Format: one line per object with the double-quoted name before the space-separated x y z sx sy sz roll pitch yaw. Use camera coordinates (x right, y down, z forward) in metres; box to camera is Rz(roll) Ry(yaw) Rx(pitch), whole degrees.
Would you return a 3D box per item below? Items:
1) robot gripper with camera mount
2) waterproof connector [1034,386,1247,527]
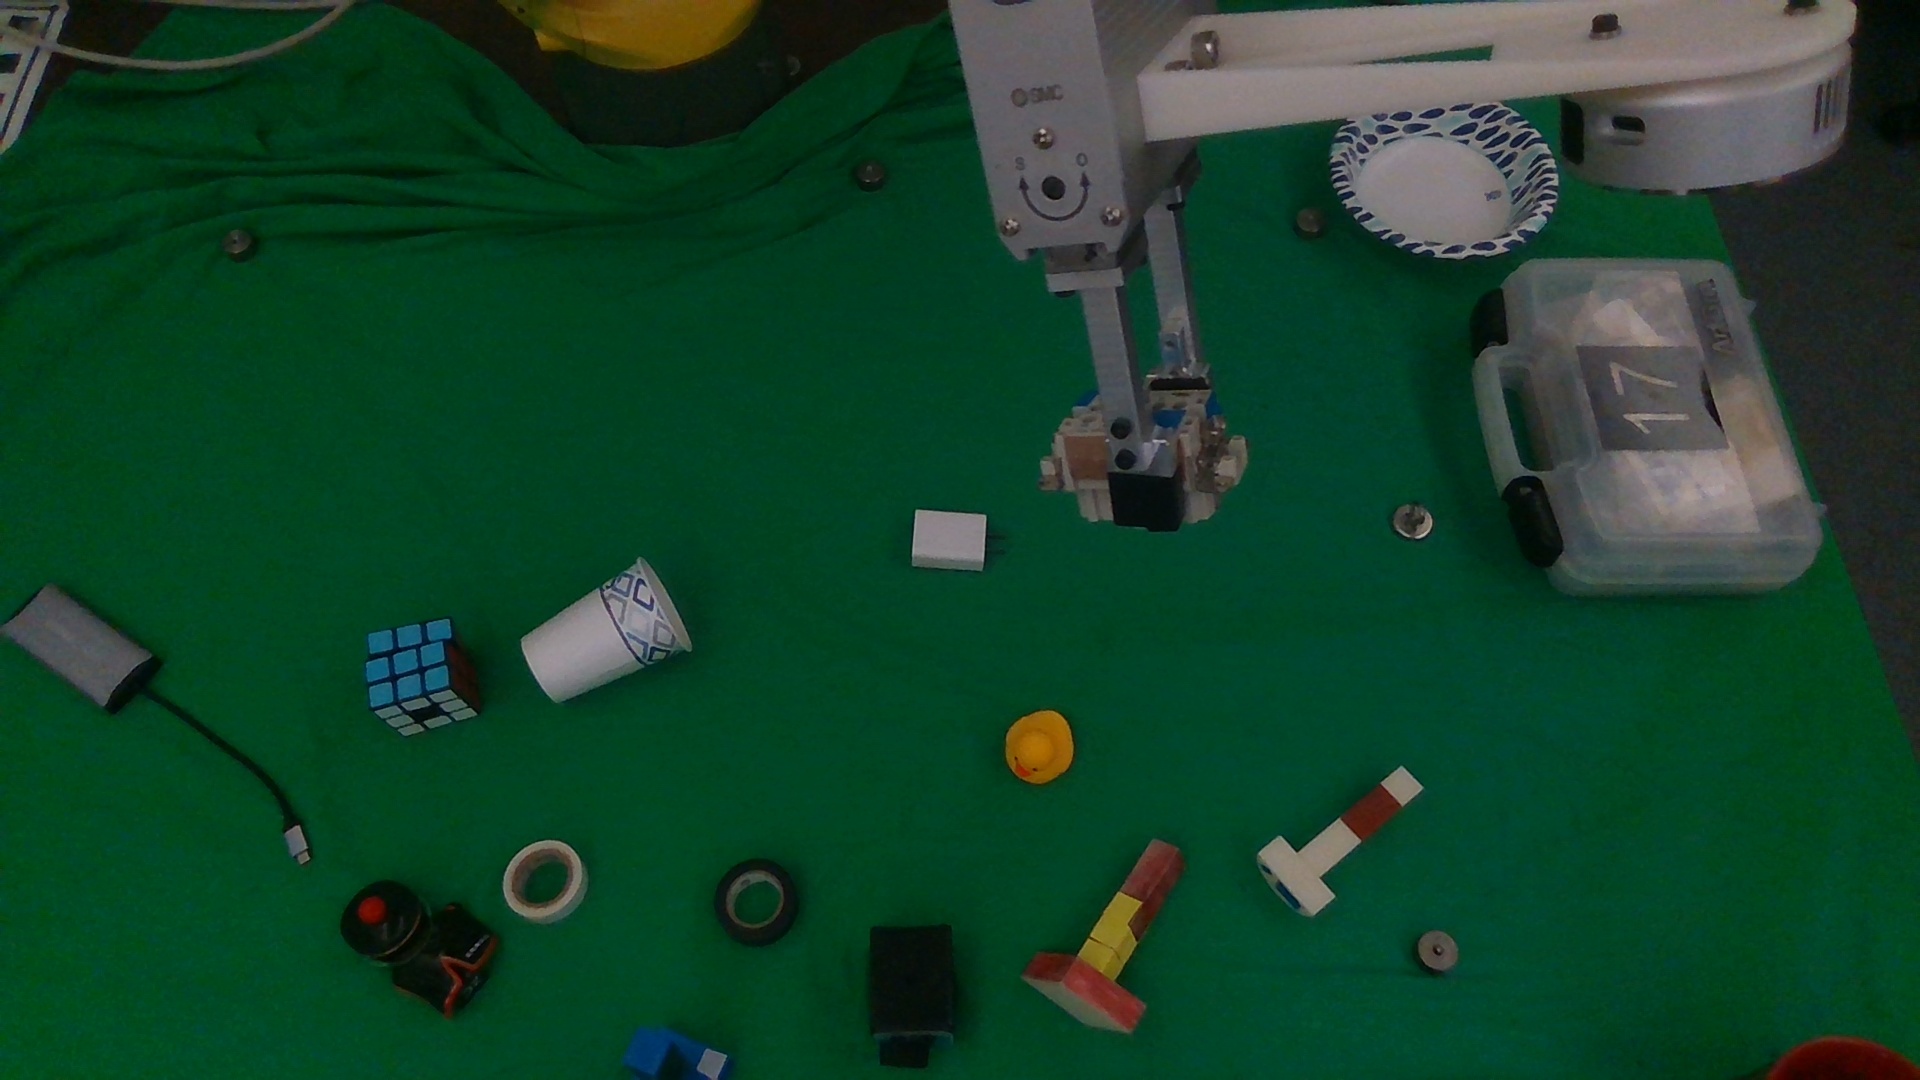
"robot gripper with camera mount" 0.125 -0.090 0.388 0.194 0.158 0.119 -1 28 20
"waterproof connector" 0.058 -0.026 0.448 0.065 0.037 0.035 0 33 24
